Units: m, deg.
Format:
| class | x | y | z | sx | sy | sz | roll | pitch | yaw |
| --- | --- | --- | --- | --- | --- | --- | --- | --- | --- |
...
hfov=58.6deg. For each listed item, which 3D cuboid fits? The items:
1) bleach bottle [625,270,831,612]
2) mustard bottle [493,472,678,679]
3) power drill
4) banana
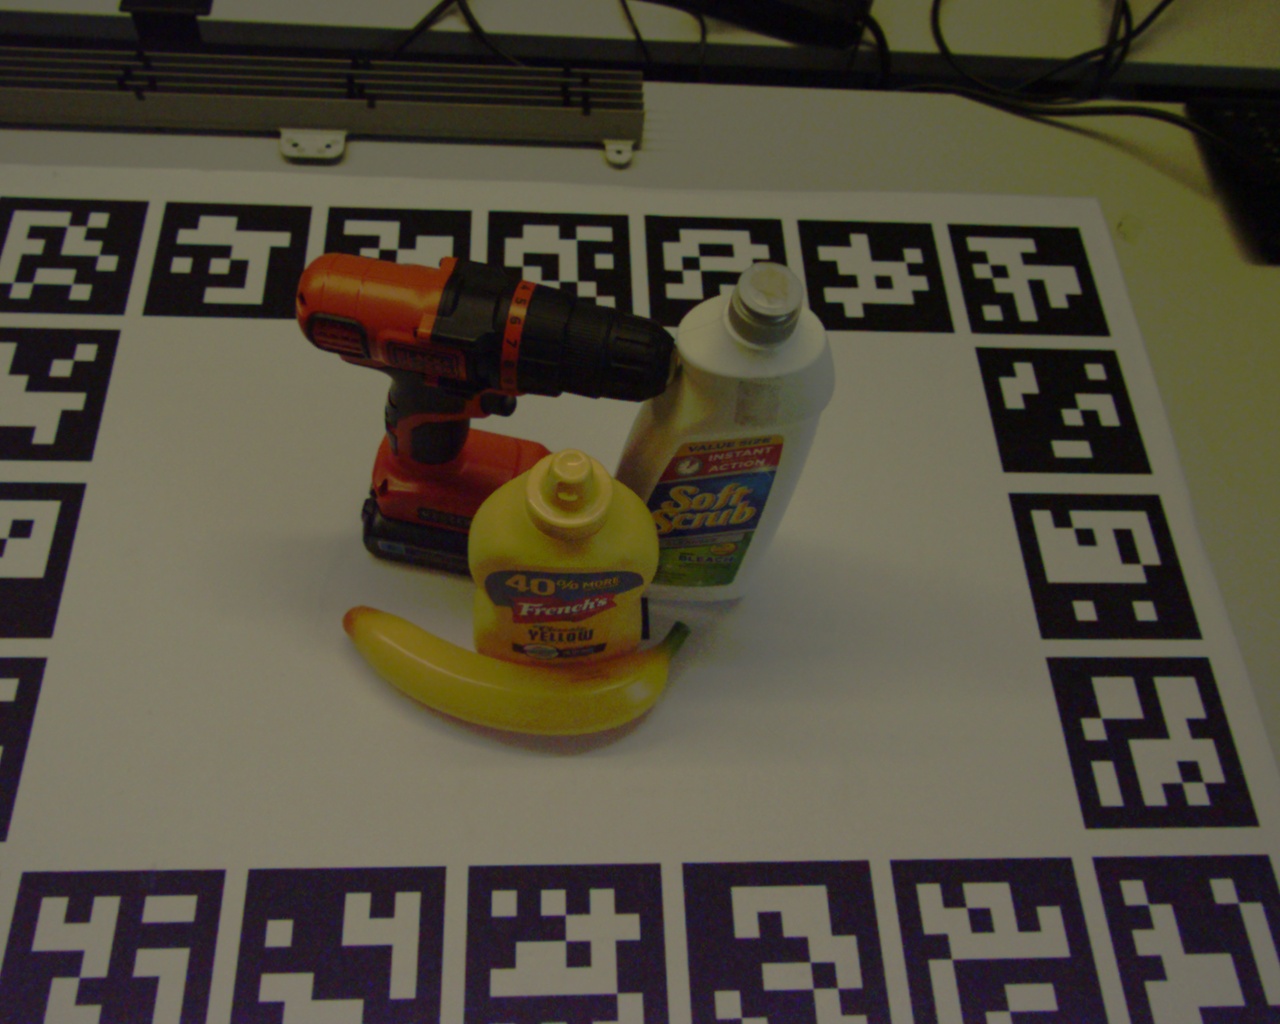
| class | x | y | z | sx | sy | sz | roll | pitch | yaw |
| --- | --- | --- | --- | --- | --- | --- | --- | --- | --- |
| bleach bottle | 0.038 | -0.032 | 0.619 | 0.102 | 0.250 | 0.068 | 2 | 57 | -5 |
| mustard bottle | -0.030 | 0.032 | 0.606 | 0.096 | 0.191 | 0.058 | 0 | 63 | -7 |
| power drill | -0.073 | -0.040 | 0.618 | 0.184 | 0.187 | 0.057 | 11 | 61 | -2 |
| banana | -0.057 | 0.098 | 0.666 | 0.197 | 0.039 | 0.074 | 2 | 63 | -1 |
